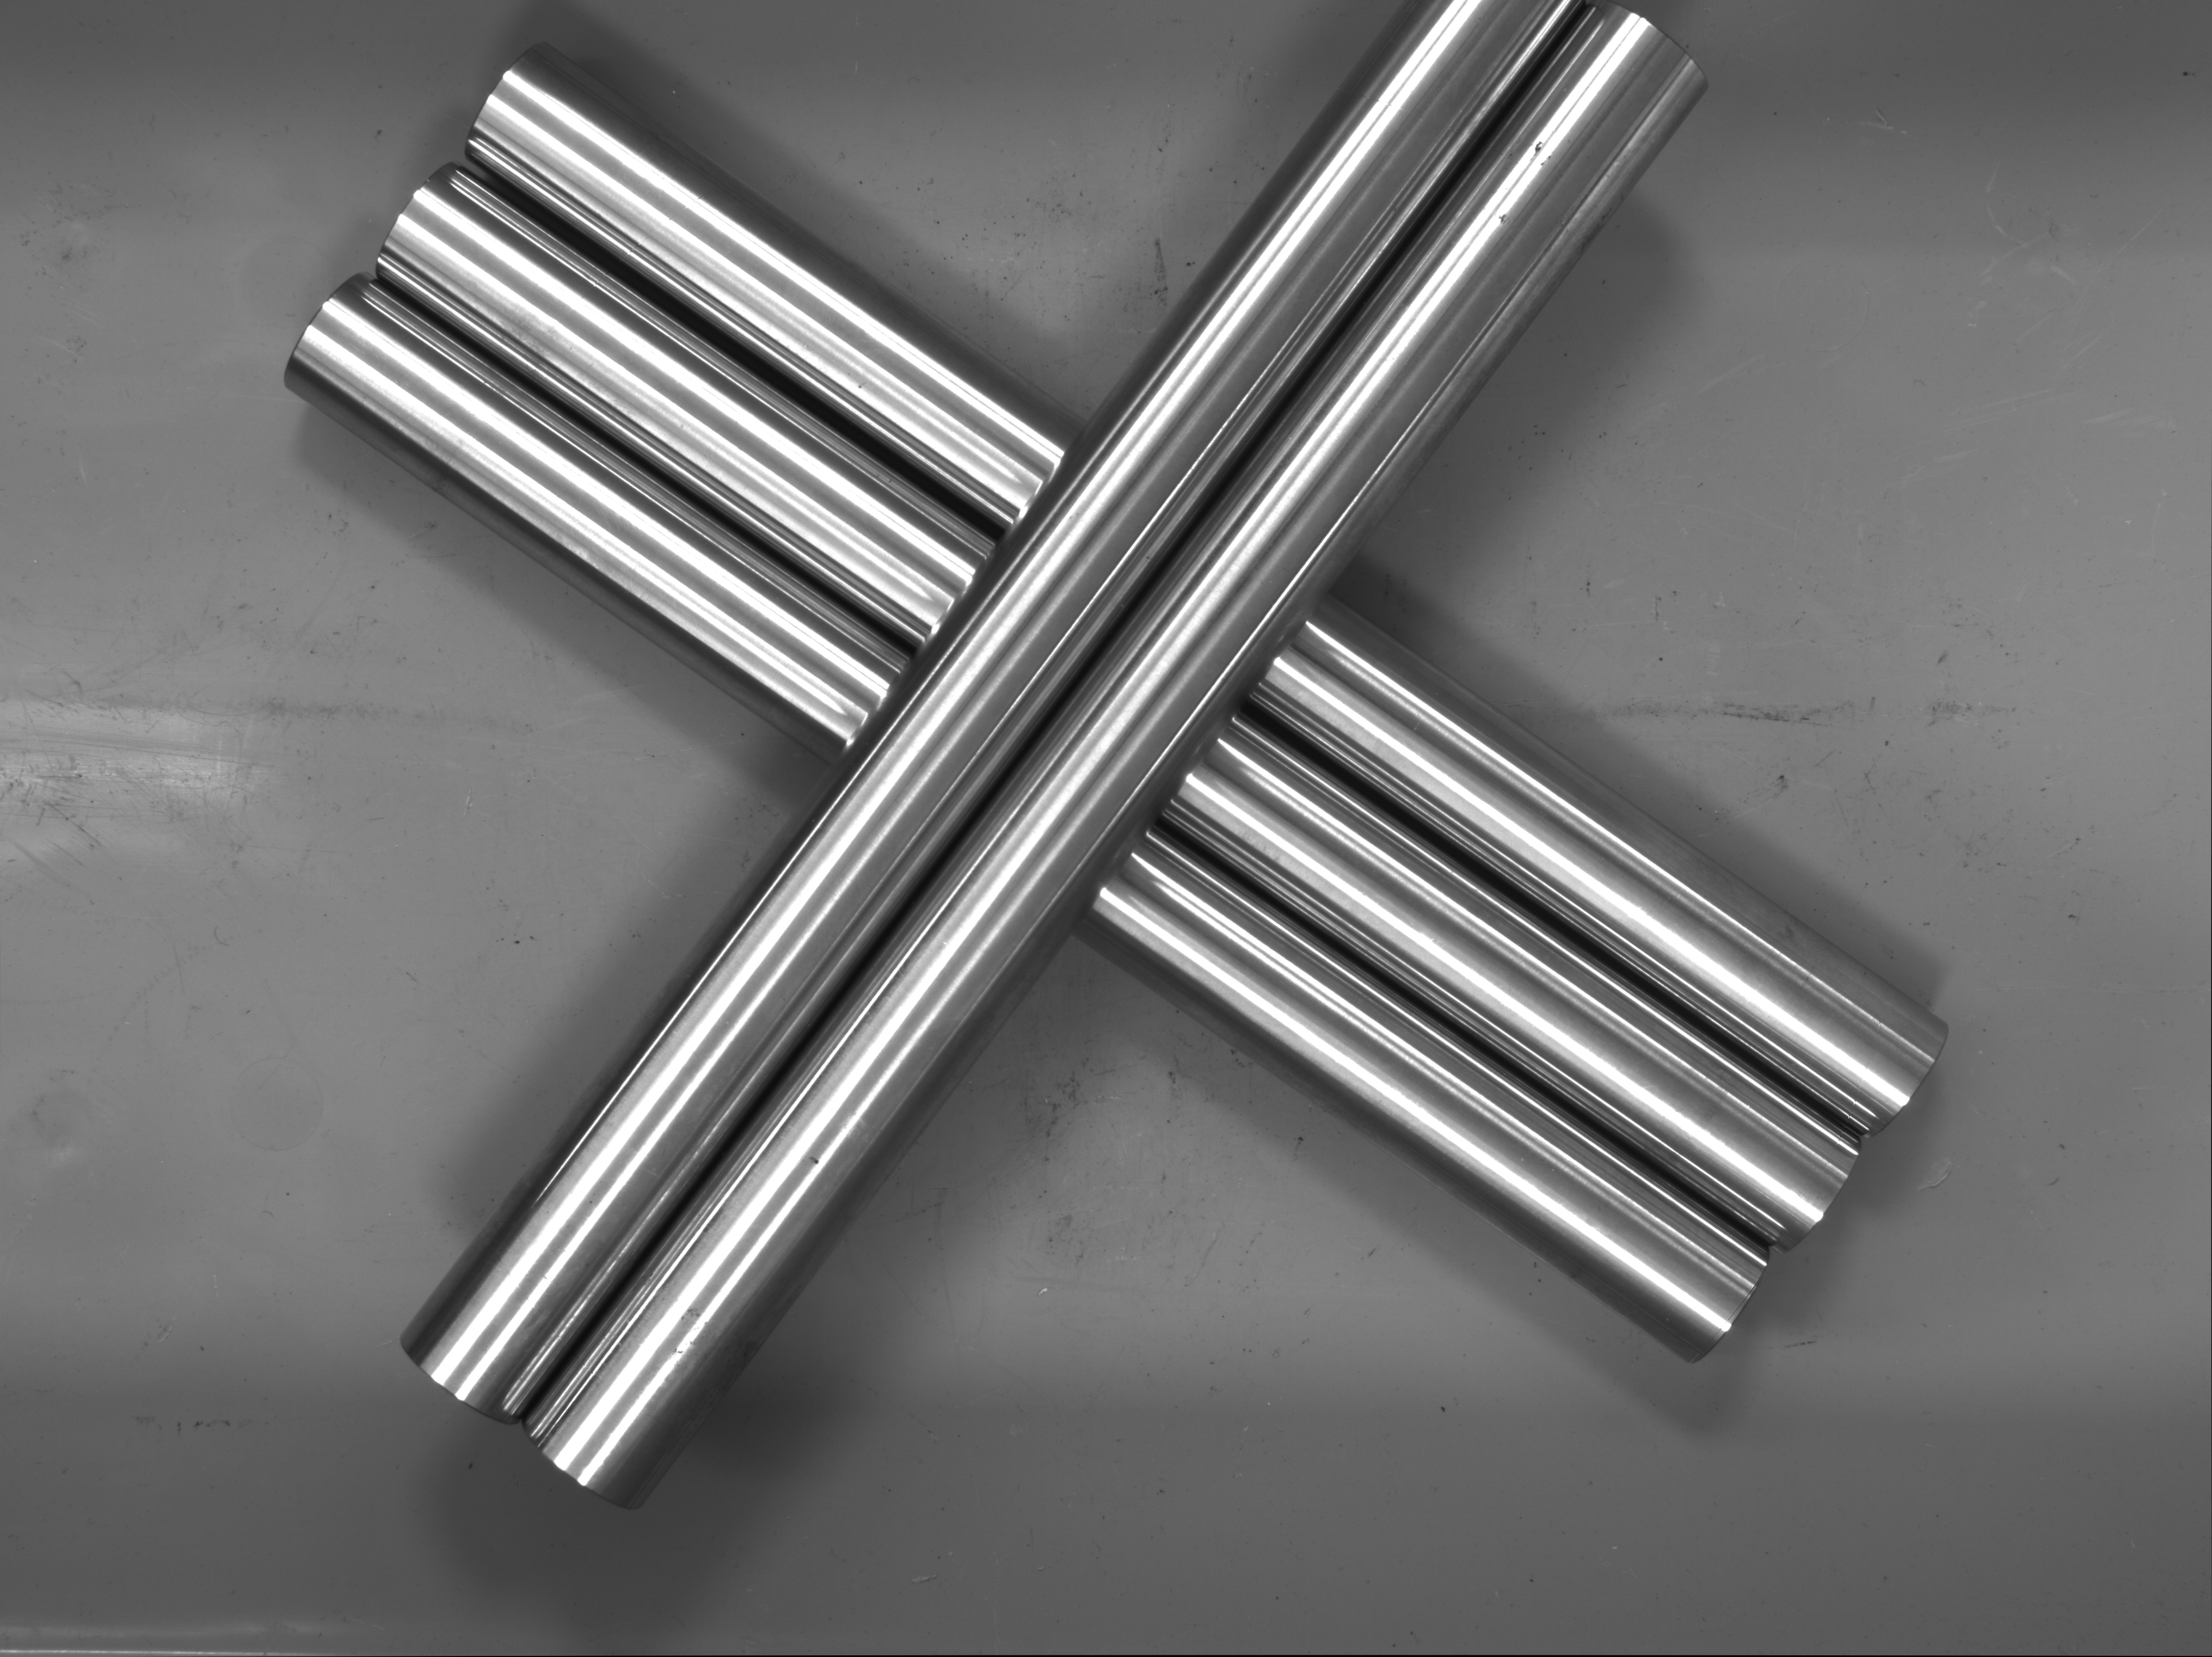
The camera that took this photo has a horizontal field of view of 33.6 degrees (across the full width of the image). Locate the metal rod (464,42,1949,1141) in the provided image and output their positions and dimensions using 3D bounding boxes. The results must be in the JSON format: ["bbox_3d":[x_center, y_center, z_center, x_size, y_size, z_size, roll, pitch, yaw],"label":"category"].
[{"bbox_3d":[0.018,-0.041,0.644,0.300,0.025,0.025,35,90,0],"label":"metal rod"}]

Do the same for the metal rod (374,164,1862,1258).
[{"bbox_3d":[0.002,-0.021,0.644,0.300,0.025,0.025,35,90,0],"label":"metal rod"}]

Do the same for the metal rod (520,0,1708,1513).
[{"bbox_3d":[0.001,-0.012,0.619,0.025,0.025,0.300,37,90,0],"label":"metal rod"}]

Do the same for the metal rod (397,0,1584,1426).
[{"bbox_3d":[-0.019,-0.027,0.619,0.025,0.025,0.300,37,90,0],"label":"metal rod"}]

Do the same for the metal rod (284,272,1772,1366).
[{"bbox_3d":[-0.014,-0.002,0.644,0.300,0.025,0.025,35,90,0],"label":"metal rod"}]
